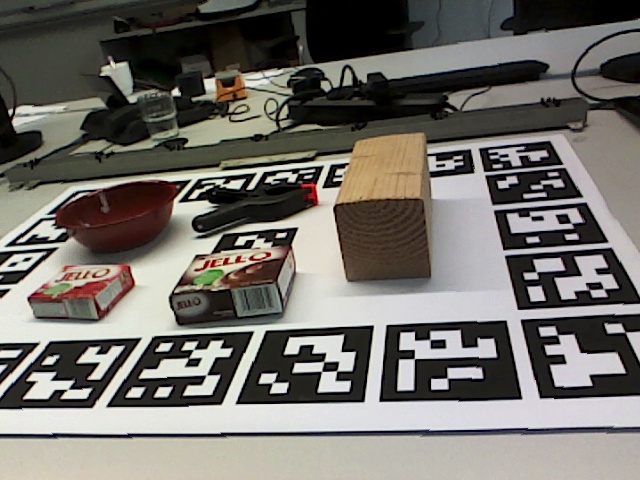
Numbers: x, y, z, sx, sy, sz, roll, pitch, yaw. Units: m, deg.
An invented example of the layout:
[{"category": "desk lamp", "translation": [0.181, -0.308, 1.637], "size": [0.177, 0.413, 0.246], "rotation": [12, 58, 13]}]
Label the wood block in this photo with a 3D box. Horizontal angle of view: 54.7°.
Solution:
[{"category": "wood block", "translation": [0.080, -0.043, 0.696], "size": [0.090, 0.090, 0.206], "rotation": [-2, 28, 15]}]

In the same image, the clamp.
[{"category": "clamp", "translation": [-0.099, -0.049, 0.855], "size": [0.165, 0.036, 0.122], "rotation": [-8, 27, 3]}]

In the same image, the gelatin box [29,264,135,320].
[{"category": "gelatin box", "translation": [-0.268, 0.056, 0.699], "size": [0.090, 0.030, 0.073], "rotation": [0, 30, 20]}]

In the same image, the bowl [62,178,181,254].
[{"category": "bowl", "translation": [-0.265, -0.027, 0.851], "size": [0.162, 0.055, 0.162], "rotation": [-8, 30, 4]}]

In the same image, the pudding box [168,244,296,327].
[{"category": "pudding box", "translation": [-0.089, 0.047, 0.644], "size": [0.114, 0.038, 0.090], "rotation": [-7, 31, 14]}]
